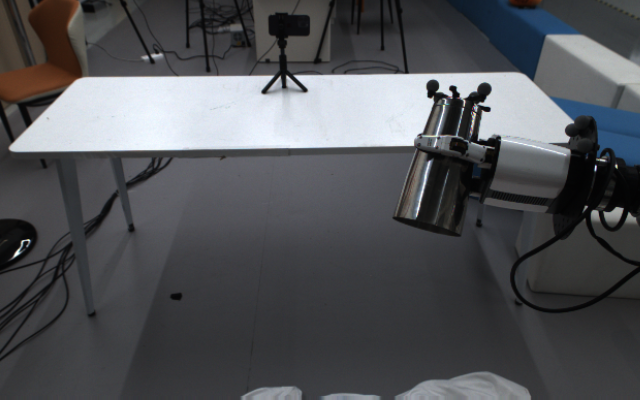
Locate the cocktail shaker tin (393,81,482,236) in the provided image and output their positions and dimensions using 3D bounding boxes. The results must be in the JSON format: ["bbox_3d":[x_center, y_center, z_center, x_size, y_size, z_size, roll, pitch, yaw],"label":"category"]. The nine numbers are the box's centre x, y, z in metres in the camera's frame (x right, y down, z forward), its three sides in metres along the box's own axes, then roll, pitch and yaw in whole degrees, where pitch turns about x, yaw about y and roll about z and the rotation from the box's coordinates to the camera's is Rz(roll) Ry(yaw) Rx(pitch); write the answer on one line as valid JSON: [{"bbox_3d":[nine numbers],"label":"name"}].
[{"bbox_3d":[0.163,-0.046,0.648,0.093,0.170,0.093,16,-6,2],"label":"cocktail shaker tin"}]
